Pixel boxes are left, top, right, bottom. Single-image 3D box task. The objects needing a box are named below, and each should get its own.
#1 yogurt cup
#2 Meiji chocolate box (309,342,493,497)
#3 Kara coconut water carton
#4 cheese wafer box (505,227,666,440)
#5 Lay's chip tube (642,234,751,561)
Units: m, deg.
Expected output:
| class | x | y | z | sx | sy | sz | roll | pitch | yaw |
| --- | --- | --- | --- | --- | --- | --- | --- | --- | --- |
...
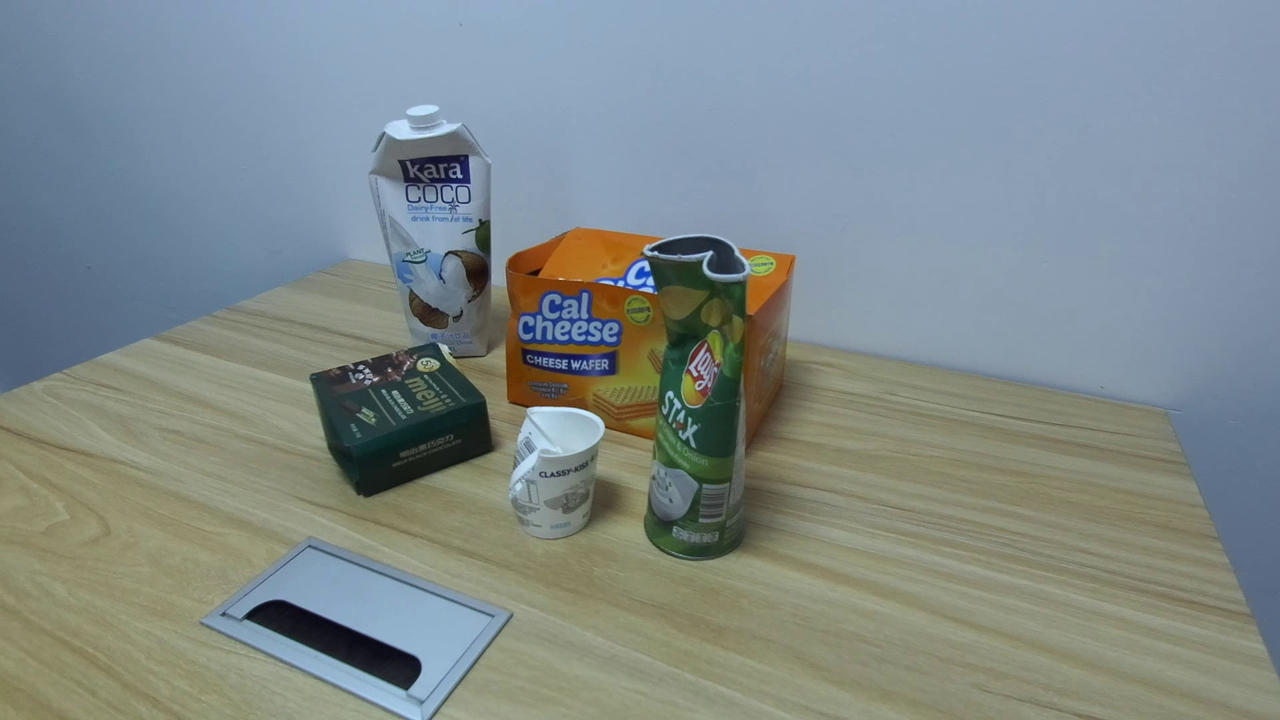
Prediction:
| class | x | y | z | sx | sy | sz | roll | pitch | yaw |
| --- | --- | --- | --- | --- | --- | --- | --- | --- | --- |
| yogurt cup | -0.057 | 0.077 | 0.482 | 0.067 | 0.070 | 0.067 | 0 | 26 | 0 |
| Meiji chocolate box | -0.190 | 0.045 | 0.566 | 0.123 | 0.058 | 0.115 | -18 | 36 | -31 |
| Kara coconut water carton | -0.193 | -0.119 | 0.679 | 0.115 | 0.238 | 0.069 | -3 | 29 | -7 |
| cheese wafer box | 0.005 | -0.024 | 0.621 | 0.229 | 0.132 | 0.152 | 12 | 30 | 22 |
| Lay's chip tube | 0.038 | 0.026 | 0.438 | 0.077 | 0.201 | 0.069 | 11 | 30 | 26 |
